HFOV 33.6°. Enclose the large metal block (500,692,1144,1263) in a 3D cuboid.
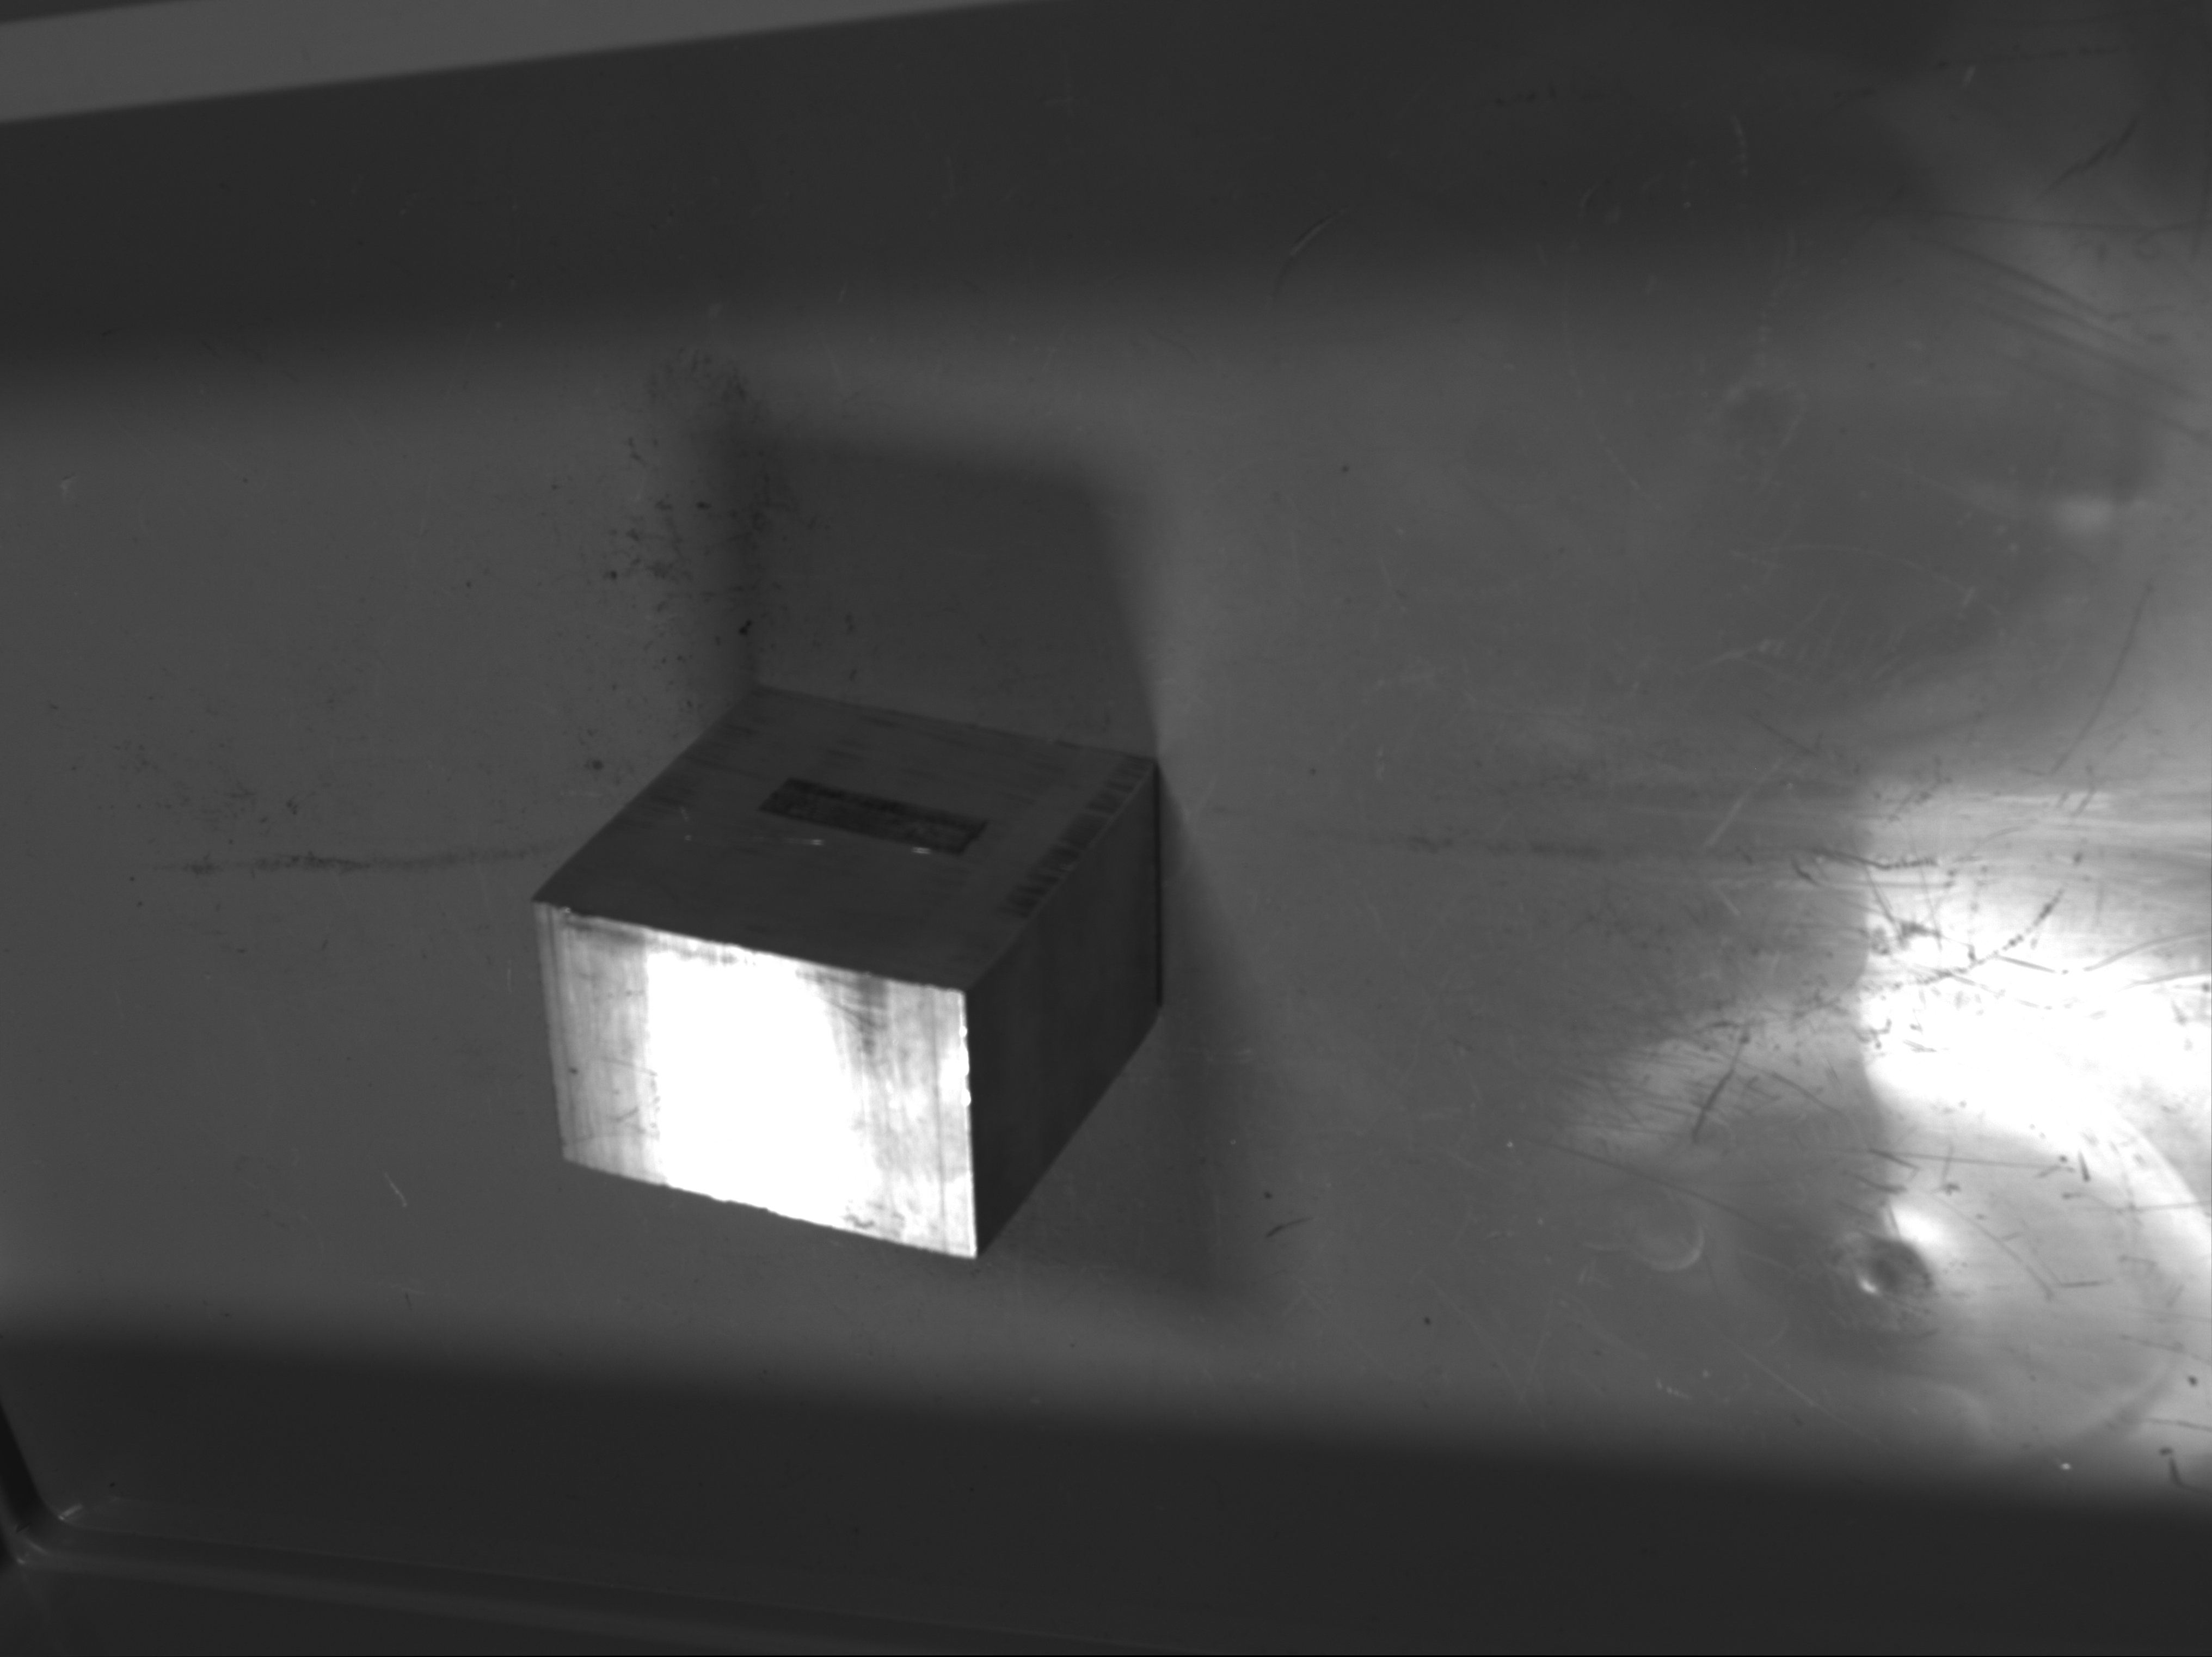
[{"bbox_3d":[-0.046,0.023,0.631,0.080,0.080,0.050,11,123,20],"label":"large metal block"}]
